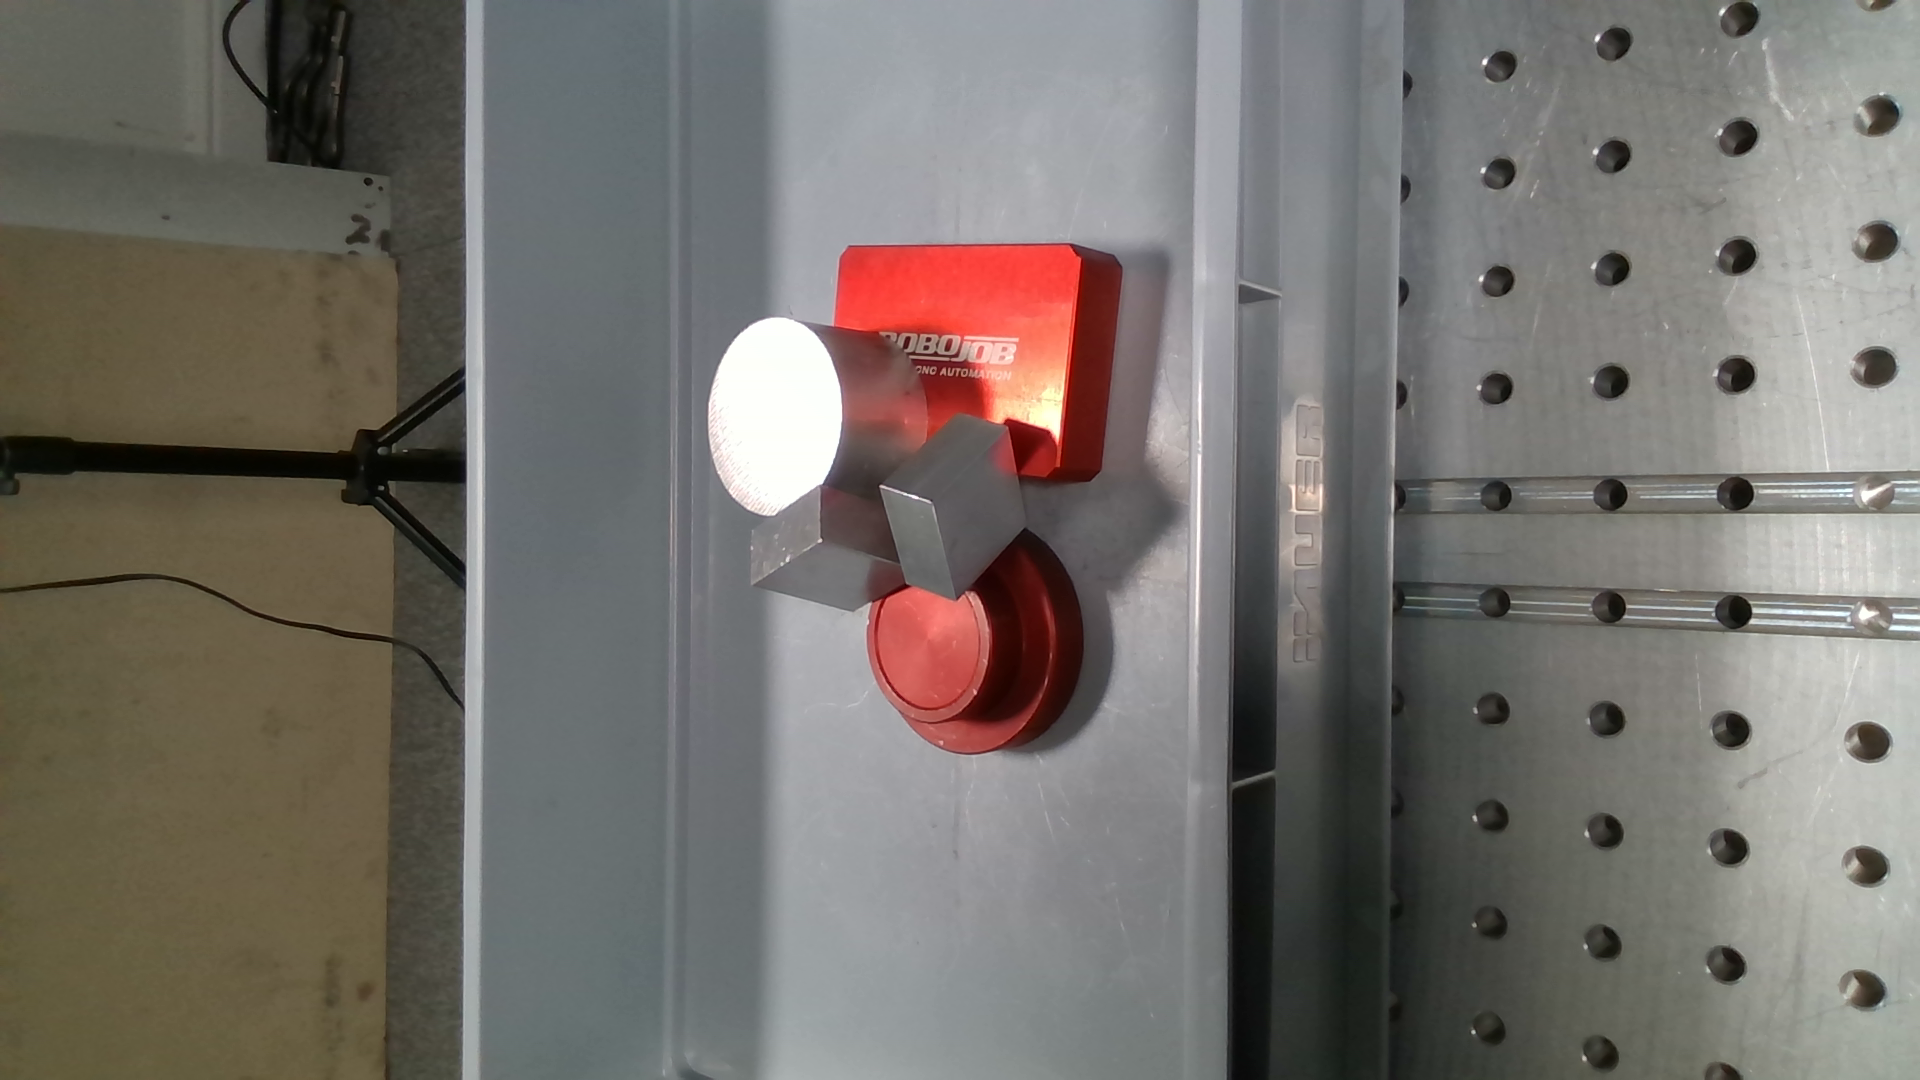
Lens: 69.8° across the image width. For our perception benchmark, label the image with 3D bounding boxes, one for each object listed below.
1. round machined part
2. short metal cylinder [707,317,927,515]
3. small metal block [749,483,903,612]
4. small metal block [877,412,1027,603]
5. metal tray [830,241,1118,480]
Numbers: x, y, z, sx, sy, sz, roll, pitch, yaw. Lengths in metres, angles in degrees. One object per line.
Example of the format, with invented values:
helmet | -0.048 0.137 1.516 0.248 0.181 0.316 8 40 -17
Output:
round machined part | -0.001 0.040 0.570 0.098 0.042 0.098 0 91 40
short metal cylinder | -0.060 -0.050 0.575 0.080 0.050 0.080 0 91 40
small metal block | -0.050 0.005 0.555 0.050 0.050 0.025 -30 53 43
small metal block | -0.002 -0.013 0.532 0.025 0.050 0.050 19 139 33
metal tray | 0.000 -0.076 0.574 0.130 0.030 0.090 10 97 40
